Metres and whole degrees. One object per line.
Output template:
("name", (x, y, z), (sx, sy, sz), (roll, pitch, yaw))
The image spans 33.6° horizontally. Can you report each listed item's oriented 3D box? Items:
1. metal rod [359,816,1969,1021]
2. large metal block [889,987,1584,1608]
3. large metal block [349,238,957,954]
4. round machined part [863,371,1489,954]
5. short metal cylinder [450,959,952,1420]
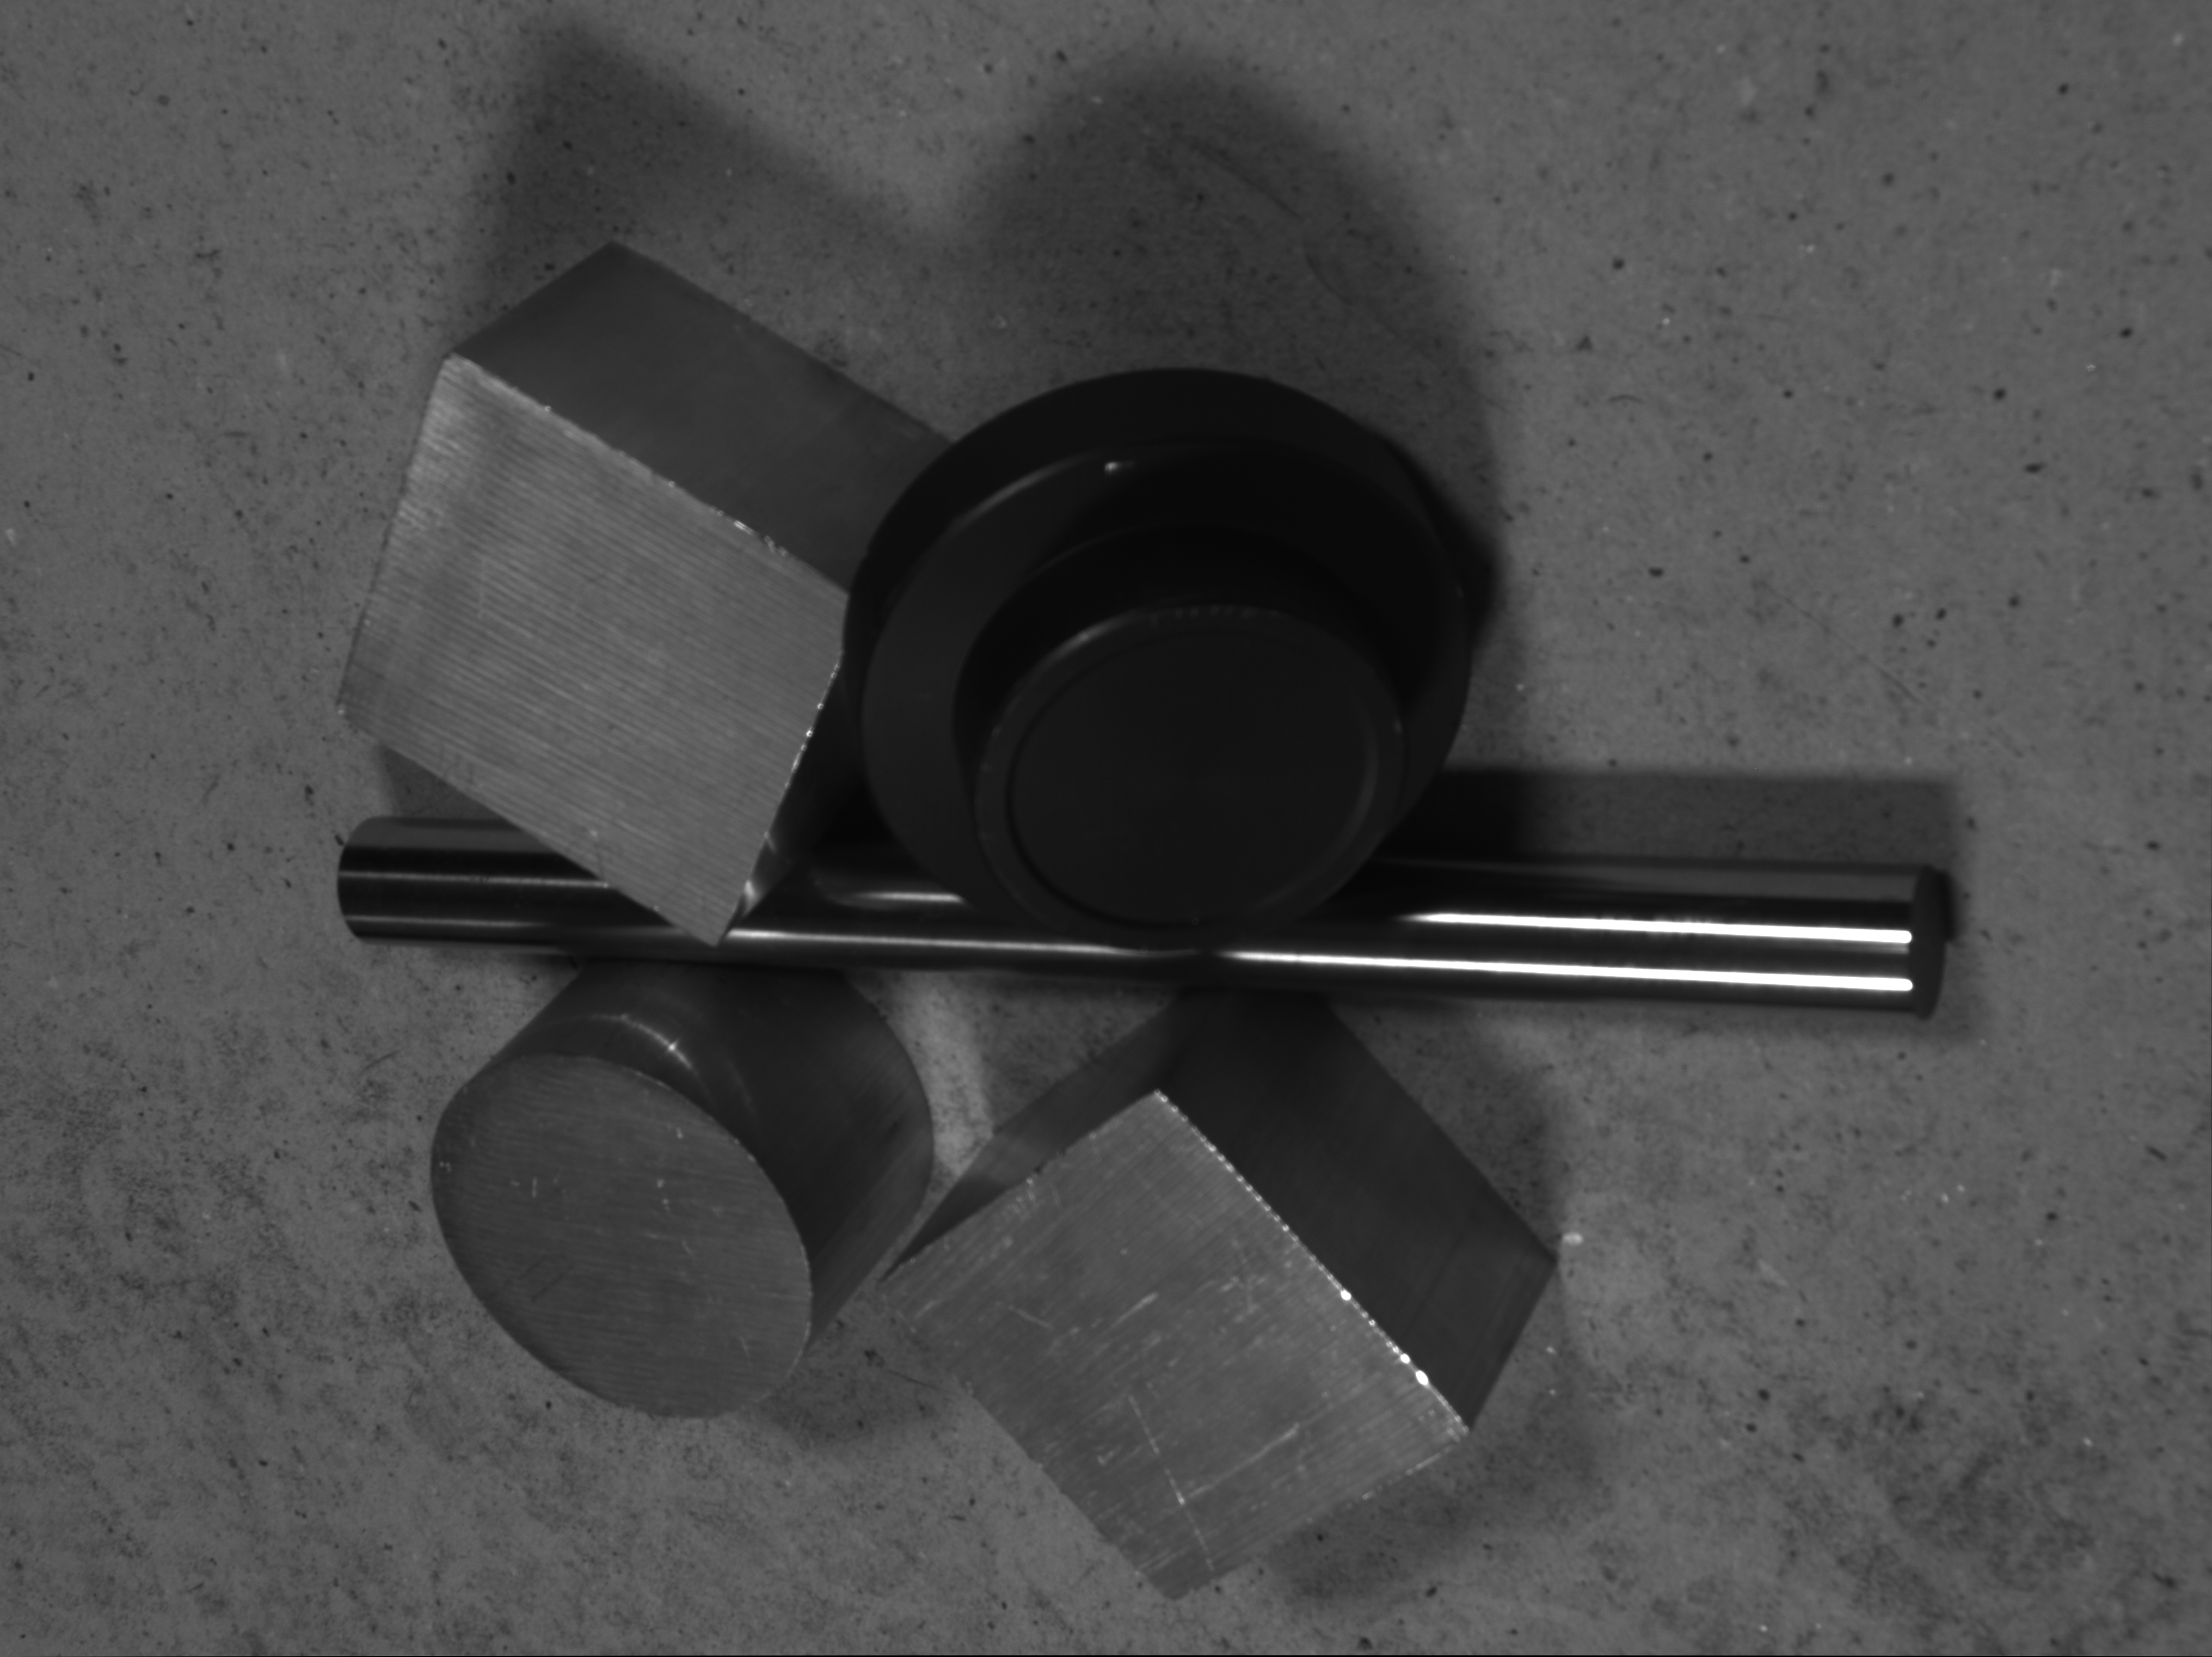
("metal rod", (-0.002, 0.014, 0.642), (0.299, 0.025, 0.025), (2, 119, 26))
("large metal block", (0.023, 0.080, 0.652), (0.080, 0.050, 0.080), (48, 128, -6))
("large metal block", (-0.073, -0.040, 0.625), (0.080, 0.050, 0.080), (32, 128, 6))
("round machined part", (0.012, -0.019, 0.573), (0.098, 0.042, 0.098), (-4, 129, -5))
("short metal cylinder", (-0.076, 0.064, 0.692), (0.080, 0.050, 0.080), (12, 123, 20))
